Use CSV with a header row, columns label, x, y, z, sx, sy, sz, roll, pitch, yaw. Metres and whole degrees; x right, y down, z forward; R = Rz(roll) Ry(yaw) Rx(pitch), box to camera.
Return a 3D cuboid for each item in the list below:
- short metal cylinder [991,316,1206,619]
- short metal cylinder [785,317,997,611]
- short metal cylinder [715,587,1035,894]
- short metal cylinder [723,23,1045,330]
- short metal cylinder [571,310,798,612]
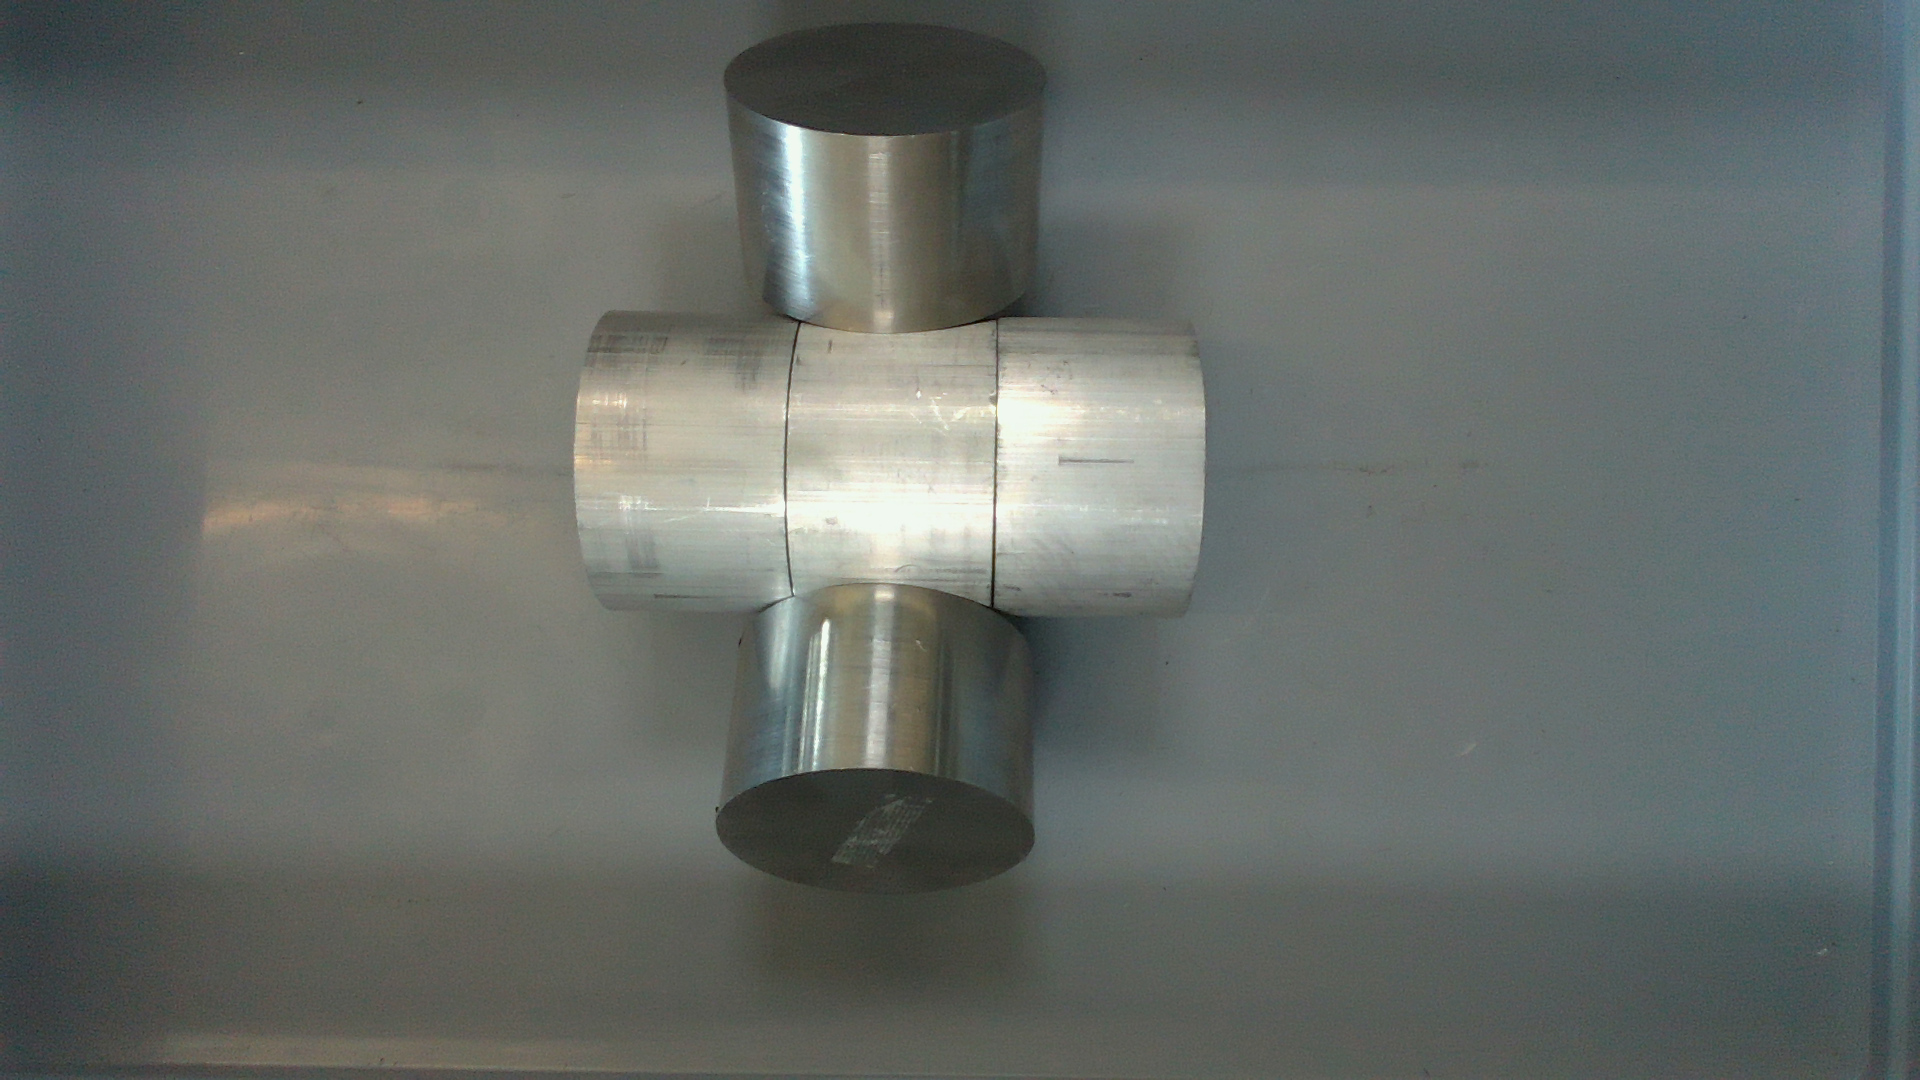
label,x,y,z,sx,sy,sz,roll,pitch,yaw
short metal cylinder,0.034,-0.019,0.367,0.050,0.080,0.080,1,90,0
short metal cylinder,-0.016,-0.020,0.366,0.050,0.080,0.080,1,90,0
short metal cylinder,-0.021,0.055,0.359,0.080,0.080,0.050,0,56,0
short metal cylinder,-0.019,-0.097,0.359,0.080,0.080,0.050,2,128,0
short metal cylinder,-0.067,-0.020,0.366,0.050,0.080,0.080,1,90,0
